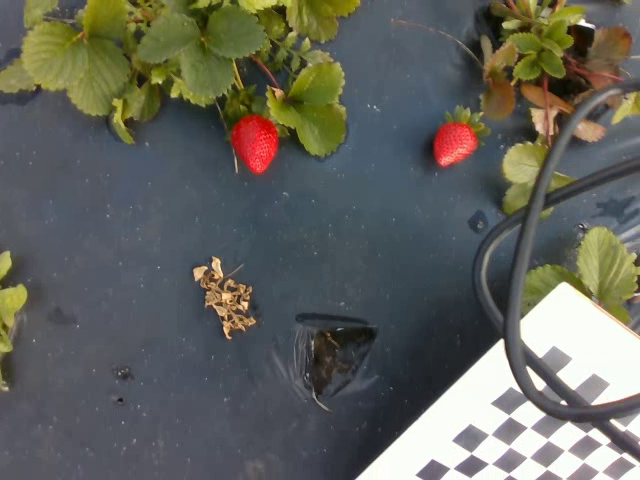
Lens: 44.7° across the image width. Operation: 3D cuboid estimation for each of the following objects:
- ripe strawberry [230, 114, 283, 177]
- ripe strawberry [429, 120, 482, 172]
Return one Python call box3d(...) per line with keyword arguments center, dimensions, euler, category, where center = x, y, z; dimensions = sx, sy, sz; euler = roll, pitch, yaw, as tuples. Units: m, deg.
box3d(center=(-0.050, -0.067, 0.588), dimensions=(0.050, 0.050, 0.046), euler=(30, -48, -31), category="ripe strawberry")
box3d(center=(0.104, -0.070, 0.618), dimensions=(0.041, 0.052, 0.045), euler=(8, -37, 41), category="ripe strawberry")
